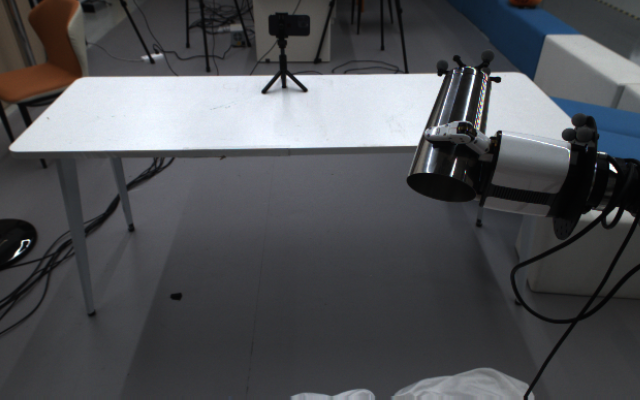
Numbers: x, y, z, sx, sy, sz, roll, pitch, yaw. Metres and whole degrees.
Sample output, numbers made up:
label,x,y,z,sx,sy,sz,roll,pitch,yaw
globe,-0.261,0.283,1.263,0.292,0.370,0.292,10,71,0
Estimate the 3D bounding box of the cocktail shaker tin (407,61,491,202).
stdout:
label,x,y,z,sx,sy,sz,roll,pitch,yaw
cocktail shaker tin,0.184,-0.093,0.663,0.093,0.093,0.170,14,72,16
